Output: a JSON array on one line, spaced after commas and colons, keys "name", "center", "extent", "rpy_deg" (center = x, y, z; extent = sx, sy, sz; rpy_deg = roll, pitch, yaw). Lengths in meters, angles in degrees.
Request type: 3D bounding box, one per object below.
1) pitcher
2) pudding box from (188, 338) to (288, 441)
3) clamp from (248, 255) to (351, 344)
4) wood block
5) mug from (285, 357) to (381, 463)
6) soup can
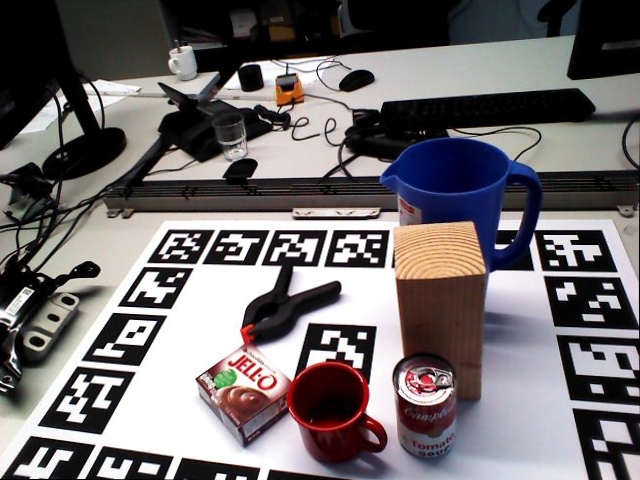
[{"name": "pitcher", "center": [0.186, -0.006, 0.667], "extent": [0.190, 0.243, 0.132], "rpy_deg": [-3, 35, 17]}, {"name": "pudding box", "center": [-0.102, 0.190, 0.666], "extent": [0.089, 0.039, 0.114], "rpy_deg": [-36, 42, -24]}, {"name": "clamp", "center": [-0.047, 0.094, 0.785], "extent": [0.122, 0.037, 0.164], "rpy_deg": [27, 52, 31]}, {"name": "wood block", "center": [0.140, 0.081, 0.592], "extent": [0.090, 0.207, 0.090], "rpy_deg": [1, 38, 11]}, {"name": "mug", "center": [0.021, 0.199, 0.577], "extent": [0.093, 0.081, 0.117], "rpy_deg": [-32, 40, -29]}, {"name": "soup can", "center": [0.114, 0.178, 0.560], "extent": [0.068, 0.102, 0.067], "rpy_deg": [-8, 39, 6]}]
